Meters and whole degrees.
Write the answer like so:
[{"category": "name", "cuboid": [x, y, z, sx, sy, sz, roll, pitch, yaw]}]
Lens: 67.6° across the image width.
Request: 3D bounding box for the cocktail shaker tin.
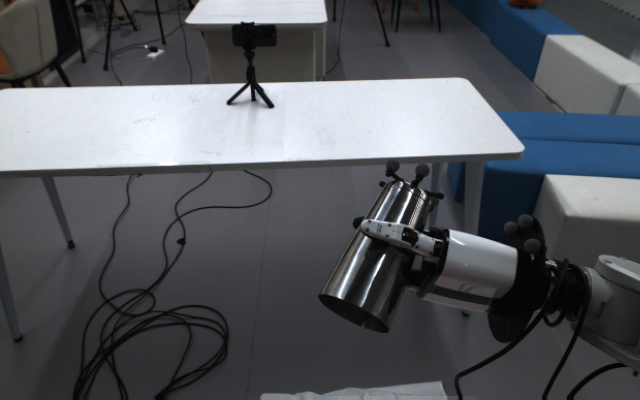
[{"category": "cocktail shaker tin", "cuboid": [0.078, 0.061, 0.590, 0.093, 0.093, 0.170, 18, 66, 21]}]
